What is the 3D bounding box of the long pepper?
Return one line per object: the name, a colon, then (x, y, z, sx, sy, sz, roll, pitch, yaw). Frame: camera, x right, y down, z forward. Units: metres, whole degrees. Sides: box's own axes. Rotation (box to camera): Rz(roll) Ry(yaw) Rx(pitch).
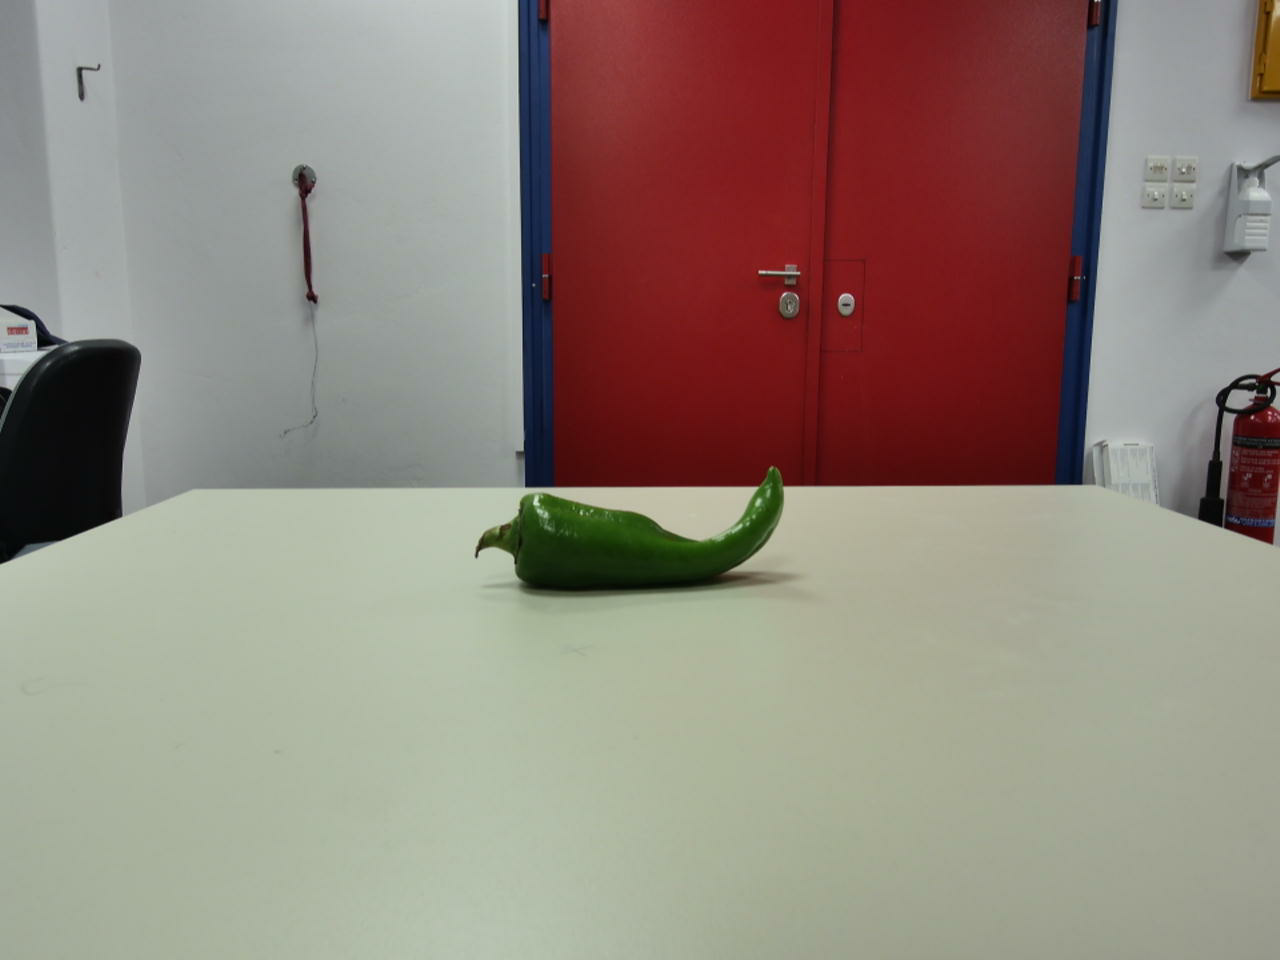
long pepper: (-0.004, 0.026, 0.557, 0.175, 0.065, 0.058, -1, 7, -2)
